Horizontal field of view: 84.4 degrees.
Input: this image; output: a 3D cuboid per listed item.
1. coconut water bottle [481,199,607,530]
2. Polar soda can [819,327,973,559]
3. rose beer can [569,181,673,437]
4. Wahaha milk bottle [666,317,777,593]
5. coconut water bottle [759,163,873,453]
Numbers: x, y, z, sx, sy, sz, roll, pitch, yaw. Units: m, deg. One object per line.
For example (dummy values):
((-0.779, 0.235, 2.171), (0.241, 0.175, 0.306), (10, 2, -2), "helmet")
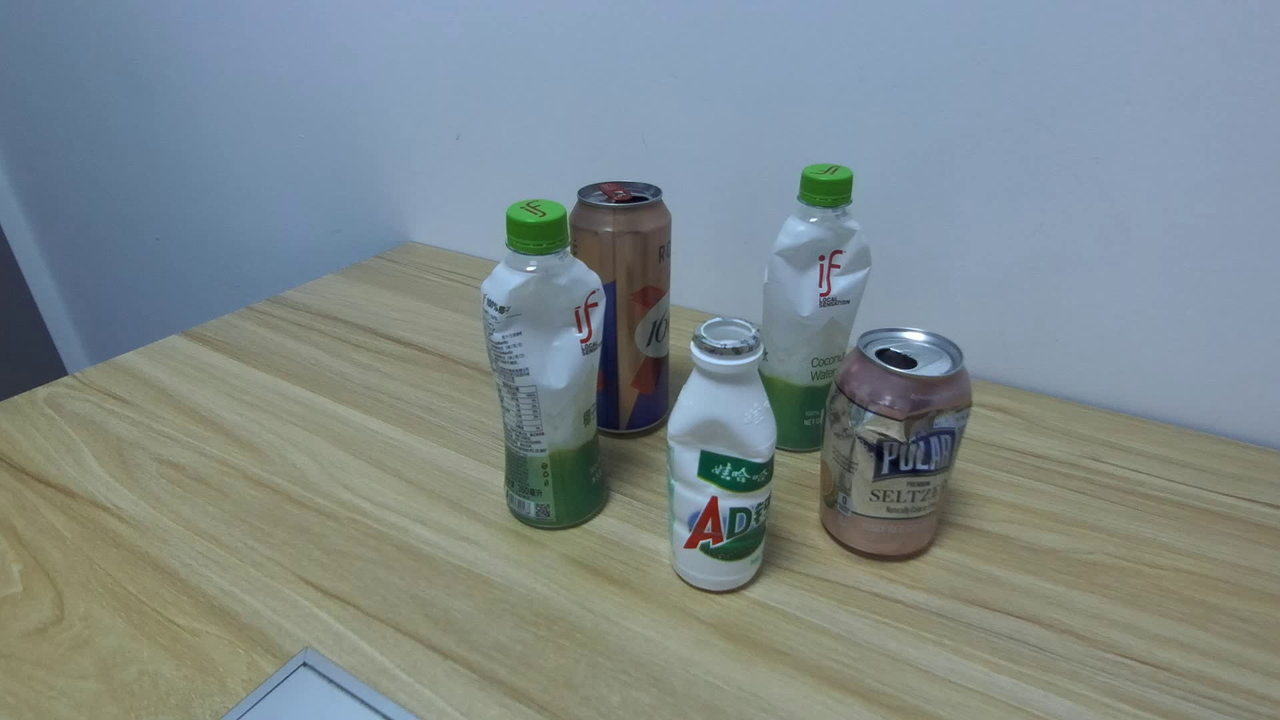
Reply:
((-0.051, 0.005, 0.398), (0.069, 0.187, 0.069), (1, 28, 0), "coconut water bottle")
((0.138, 0.047, 0.394), (0.074, 0.122, 0.067), (16, 32, 24), "Polar soda can")
((-0.012, -0.032, 0.488), (0.068, 0.169, 0.068), (1, 24, 0), "rose beer can")
((0.041, 0.050, 0.357), (0.056, 0.148, 0.056), (0, 32, 0), "Wahaha milk bottle")
((0.109, -0.031, 0.460), (0.067, 0.187, 0.067), (1, 30, 0), "coconut water bottle")
